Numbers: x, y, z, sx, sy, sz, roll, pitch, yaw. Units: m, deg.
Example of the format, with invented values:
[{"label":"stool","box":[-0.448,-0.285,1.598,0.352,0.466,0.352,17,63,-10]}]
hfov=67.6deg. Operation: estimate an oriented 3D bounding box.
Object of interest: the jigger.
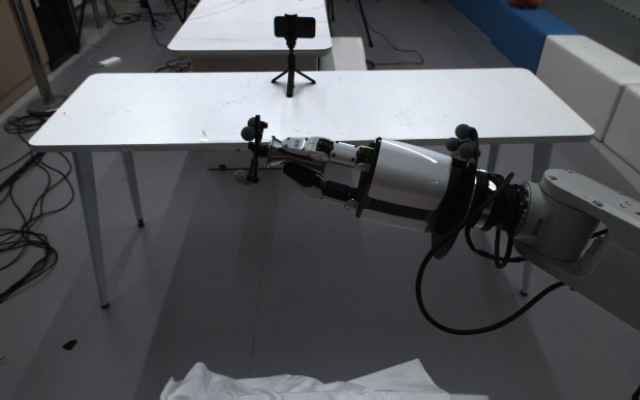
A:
[{"label":"jigger","box":[-0.020,-0.056,0.584,0.071,0.043,0.043,8,35,1]}]
